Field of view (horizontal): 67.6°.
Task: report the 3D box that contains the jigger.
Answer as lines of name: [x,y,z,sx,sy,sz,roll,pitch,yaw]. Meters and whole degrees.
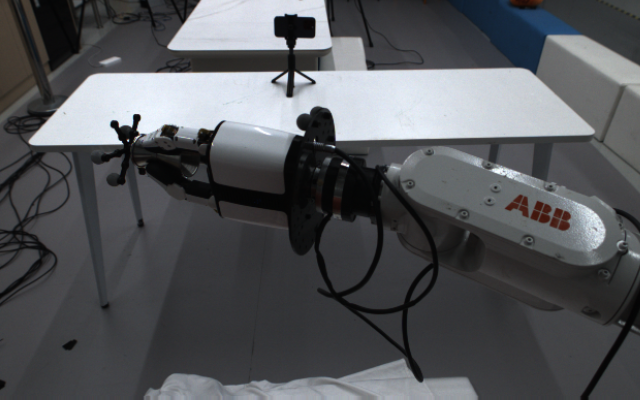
jigger: [-0.180,-0.058,0.571,0.071,0.043,0.043,10,35,15]
